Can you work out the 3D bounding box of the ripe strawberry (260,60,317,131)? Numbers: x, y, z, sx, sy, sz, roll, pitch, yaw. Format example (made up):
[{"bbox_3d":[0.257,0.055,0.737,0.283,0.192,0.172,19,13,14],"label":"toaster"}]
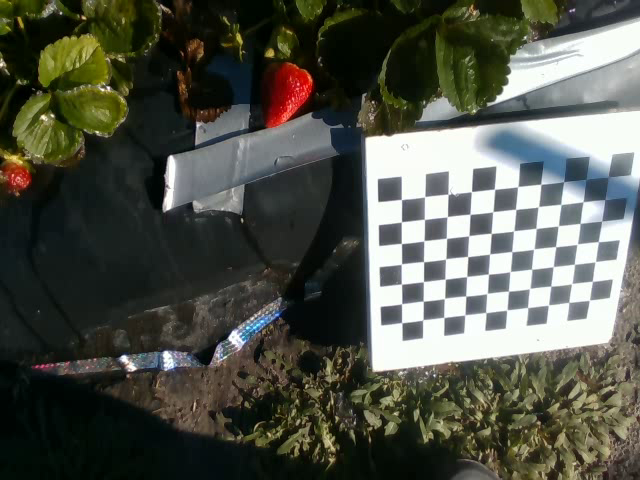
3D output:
[{"bbox_3d":[-0.033,-0.132,0.541,0.061,0.065,0.057,24,-25,-20],"label":"ripe strawberry"}]
